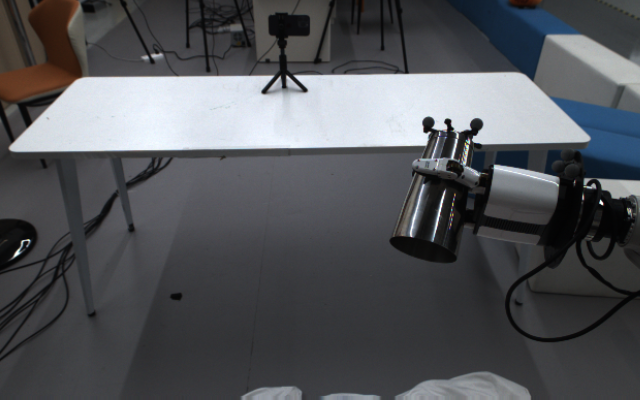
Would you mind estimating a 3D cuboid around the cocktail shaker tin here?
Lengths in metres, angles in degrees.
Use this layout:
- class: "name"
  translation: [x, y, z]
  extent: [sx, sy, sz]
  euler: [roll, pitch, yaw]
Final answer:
- class: "cocktail shaker tin"
  translation: [0.162, -0.010, 0.673]
  extent: [0.093, 0.093, 0.170]
  euler: [14, 69, 17]
